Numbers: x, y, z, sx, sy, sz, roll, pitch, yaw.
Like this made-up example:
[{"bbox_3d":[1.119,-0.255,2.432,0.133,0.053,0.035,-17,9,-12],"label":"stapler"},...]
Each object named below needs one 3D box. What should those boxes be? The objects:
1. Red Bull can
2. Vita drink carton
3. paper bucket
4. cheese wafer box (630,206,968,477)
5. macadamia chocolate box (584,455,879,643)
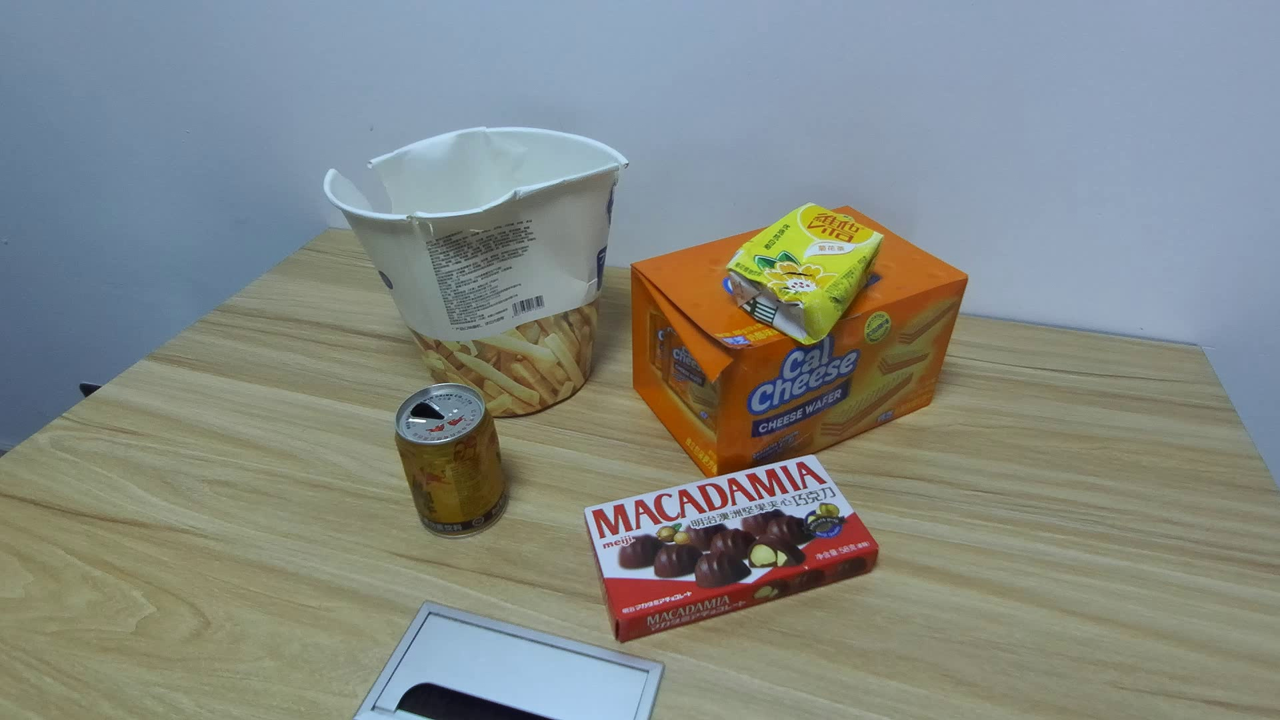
[{"bbox_3d":[-0.131,0.071,0.498,0.068,0.093,0.068,-2,35,2],"label":"Red Bull can"},{"bbox_3d":[0.115,-0.060,0.493,0.086,0.042,0.108,33,51,26],"label":"Vita drink carton"},{"bbox_3d":[-0.123,-0.073,0.595,0.203,0.197,0.145,-27,43,-30],"label":"paper bucket"},{"bbox_3d":[0.120,-0.020,0.573,0.228,0.137,0.149,-18,40,-21],"label":"cheese wafer box"},{"bbox_3d":[0.058,0.122,0.479,0.178,0.027,0.095,-11,38,-11],"label":"macadamia chocolate box"}]
